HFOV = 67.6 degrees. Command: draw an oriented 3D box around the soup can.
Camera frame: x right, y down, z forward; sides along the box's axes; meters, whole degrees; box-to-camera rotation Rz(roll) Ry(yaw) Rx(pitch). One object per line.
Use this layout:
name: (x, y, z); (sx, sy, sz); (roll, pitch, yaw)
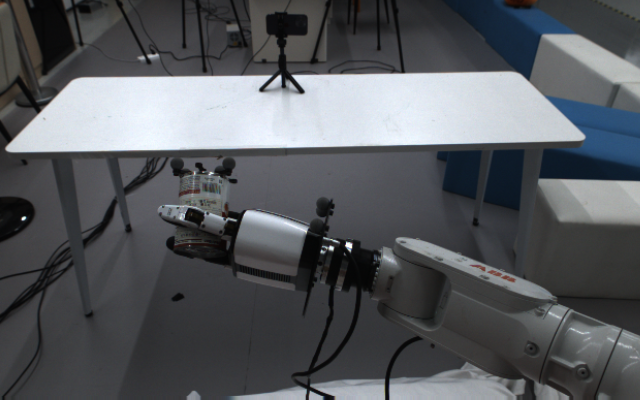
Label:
soup can: (-0.154, 0.021, 0.635); (0.067, 0.067, 0.101); (1, 73, -2)
